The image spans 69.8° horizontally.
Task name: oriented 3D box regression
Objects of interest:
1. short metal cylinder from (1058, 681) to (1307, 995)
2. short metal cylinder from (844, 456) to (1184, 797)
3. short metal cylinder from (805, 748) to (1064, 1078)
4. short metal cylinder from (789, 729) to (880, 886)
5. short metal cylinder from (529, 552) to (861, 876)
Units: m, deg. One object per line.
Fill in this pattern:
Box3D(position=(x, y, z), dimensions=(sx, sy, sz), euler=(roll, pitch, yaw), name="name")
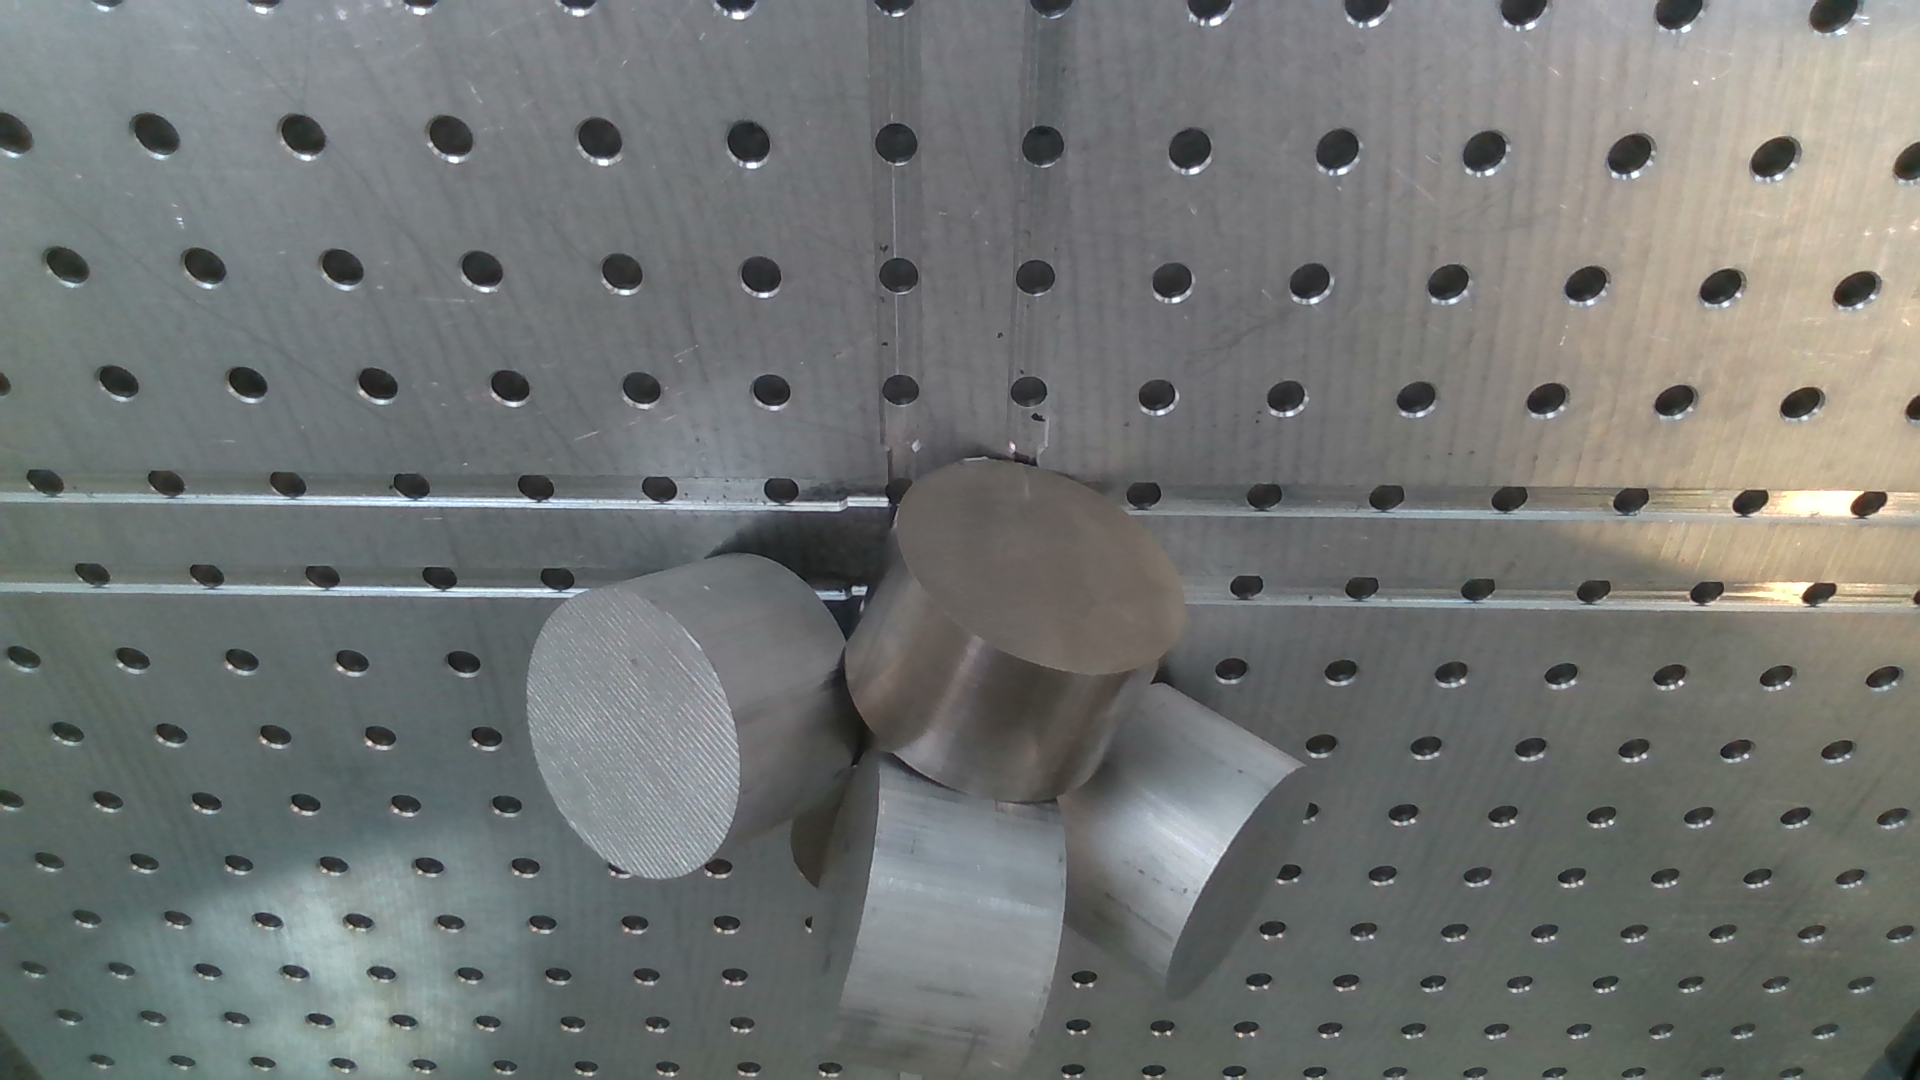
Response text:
Box3D(position=(0.064, 0.090, 0.423), dimensions=(0.050, 0.080, 0.080), euler=(29, 137, 28), name="short metal cylinder")
Box3D(position=(0.014, 0.022, 0.374), dimensions=(0.080, 0.080, 0.050), euler=(15, 129, -12), name="short metal cylinder")
Box3D(position=(-0.009, 0.101, 0.375), dimensions=(0.050, 0.080, 0.080), euler=(13, 129, -11), name="short metal cylinder")
Box3D(position=(-0.012, 0.076, 0.438), dimensions=(0.080, 0.050, 0.080), euler=(-1, 130, -1), name="short metal cylinder")
Box3D(position=(-0.075, 0.047, 0.388), dimensions=(0.080, 0.050, 0.080), euler=(8, 105, 33), name="short metal cylinder")
